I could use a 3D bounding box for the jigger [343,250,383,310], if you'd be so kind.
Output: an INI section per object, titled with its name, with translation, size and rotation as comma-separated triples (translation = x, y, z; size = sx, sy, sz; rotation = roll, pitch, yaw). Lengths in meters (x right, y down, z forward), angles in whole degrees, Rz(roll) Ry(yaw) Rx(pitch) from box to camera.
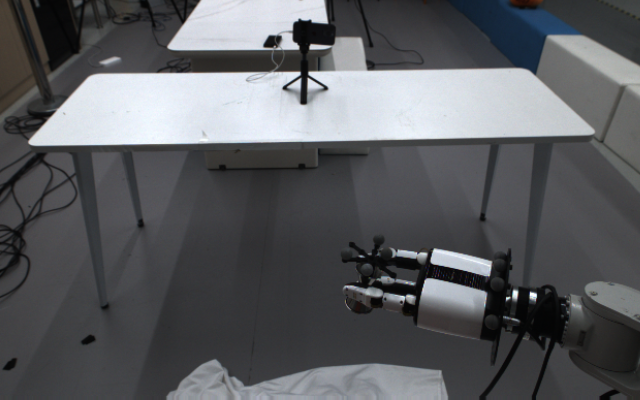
[jigger]
translation = 0.064, 0.127, 0.711
size = 0.043, 0.071, 0.043
rotation = 9, 30, -5
